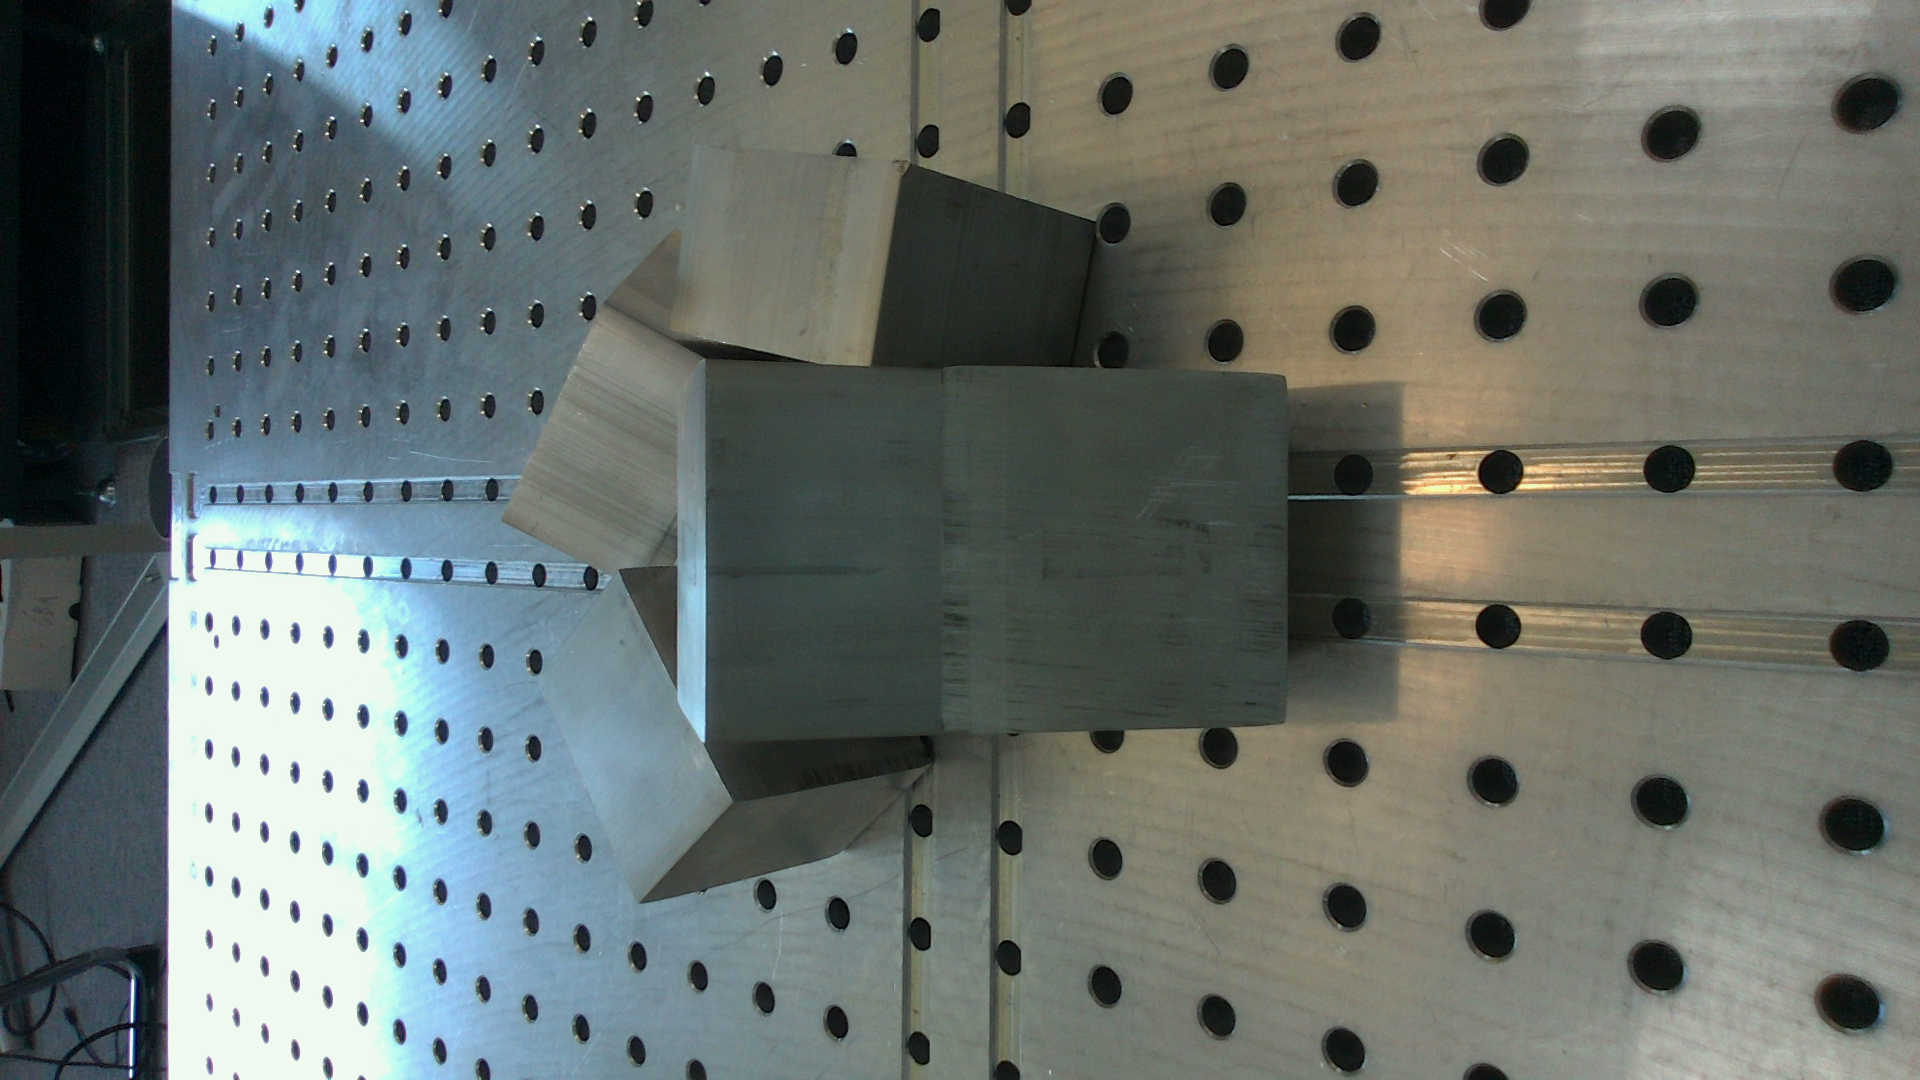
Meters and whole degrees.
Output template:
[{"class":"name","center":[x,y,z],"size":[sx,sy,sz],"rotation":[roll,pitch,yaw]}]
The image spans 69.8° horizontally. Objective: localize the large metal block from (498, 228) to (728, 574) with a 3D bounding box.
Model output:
[{"class":"large metal block","center":[-0.093,-0.042,0.432],"size":[0.050,0.080,0.080],"rotation":[28,116,-11]}]

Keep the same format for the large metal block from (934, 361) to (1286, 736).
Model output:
[{"class":"large metal block","center":[0.029,0.002,0.327],"size":[0.050,0.080,0.080],"rotation":[178,92,-78]}]

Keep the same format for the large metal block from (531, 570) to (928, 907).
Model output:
[{"class":"large metal block","center":[-0.070,0.056,0.419],"size":[0.050,0.080,0.080],"rotation":[-47,62,29]}]

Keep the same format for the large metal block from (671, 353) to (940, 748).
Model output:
[{"class":"large metal block","center":[-0.040,0.003,0.324],"size":[0.080,0.050,0.080],"rotation":[180,91,-74]}]

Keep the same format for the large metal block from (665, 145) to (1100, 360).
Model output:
[{"class":"large metal block","center":[-0.021,-0.073,0.380],"size":[0.080,0.080,0.050],"rotation":[17,101,39]}]

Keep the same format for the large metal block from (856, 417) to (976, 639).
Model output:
[{"class":"large metal block","center":[-0.013,0.001,0.393],"size":[0.080,0.050,0.080],"rotation":[1,91,40]}]
